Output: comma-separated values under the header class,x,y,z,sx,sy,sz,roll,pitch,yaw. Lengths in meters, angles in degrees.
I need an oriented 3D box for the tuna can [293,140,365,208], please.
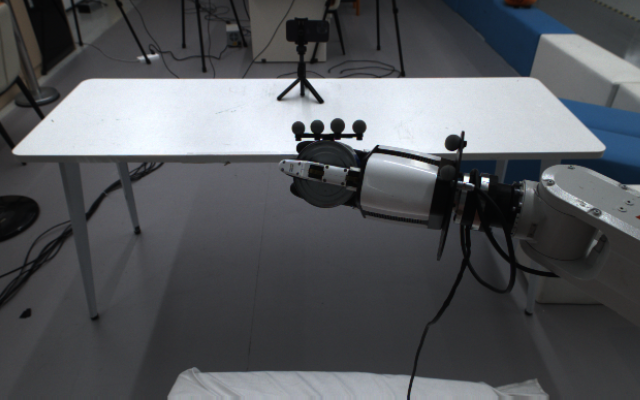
class,x,y,z,sx,sy,sz,roll,pitch,yaw
tuna can,0.012,-0.034,0.620,0.085,0.085,0.034,12,8,14
